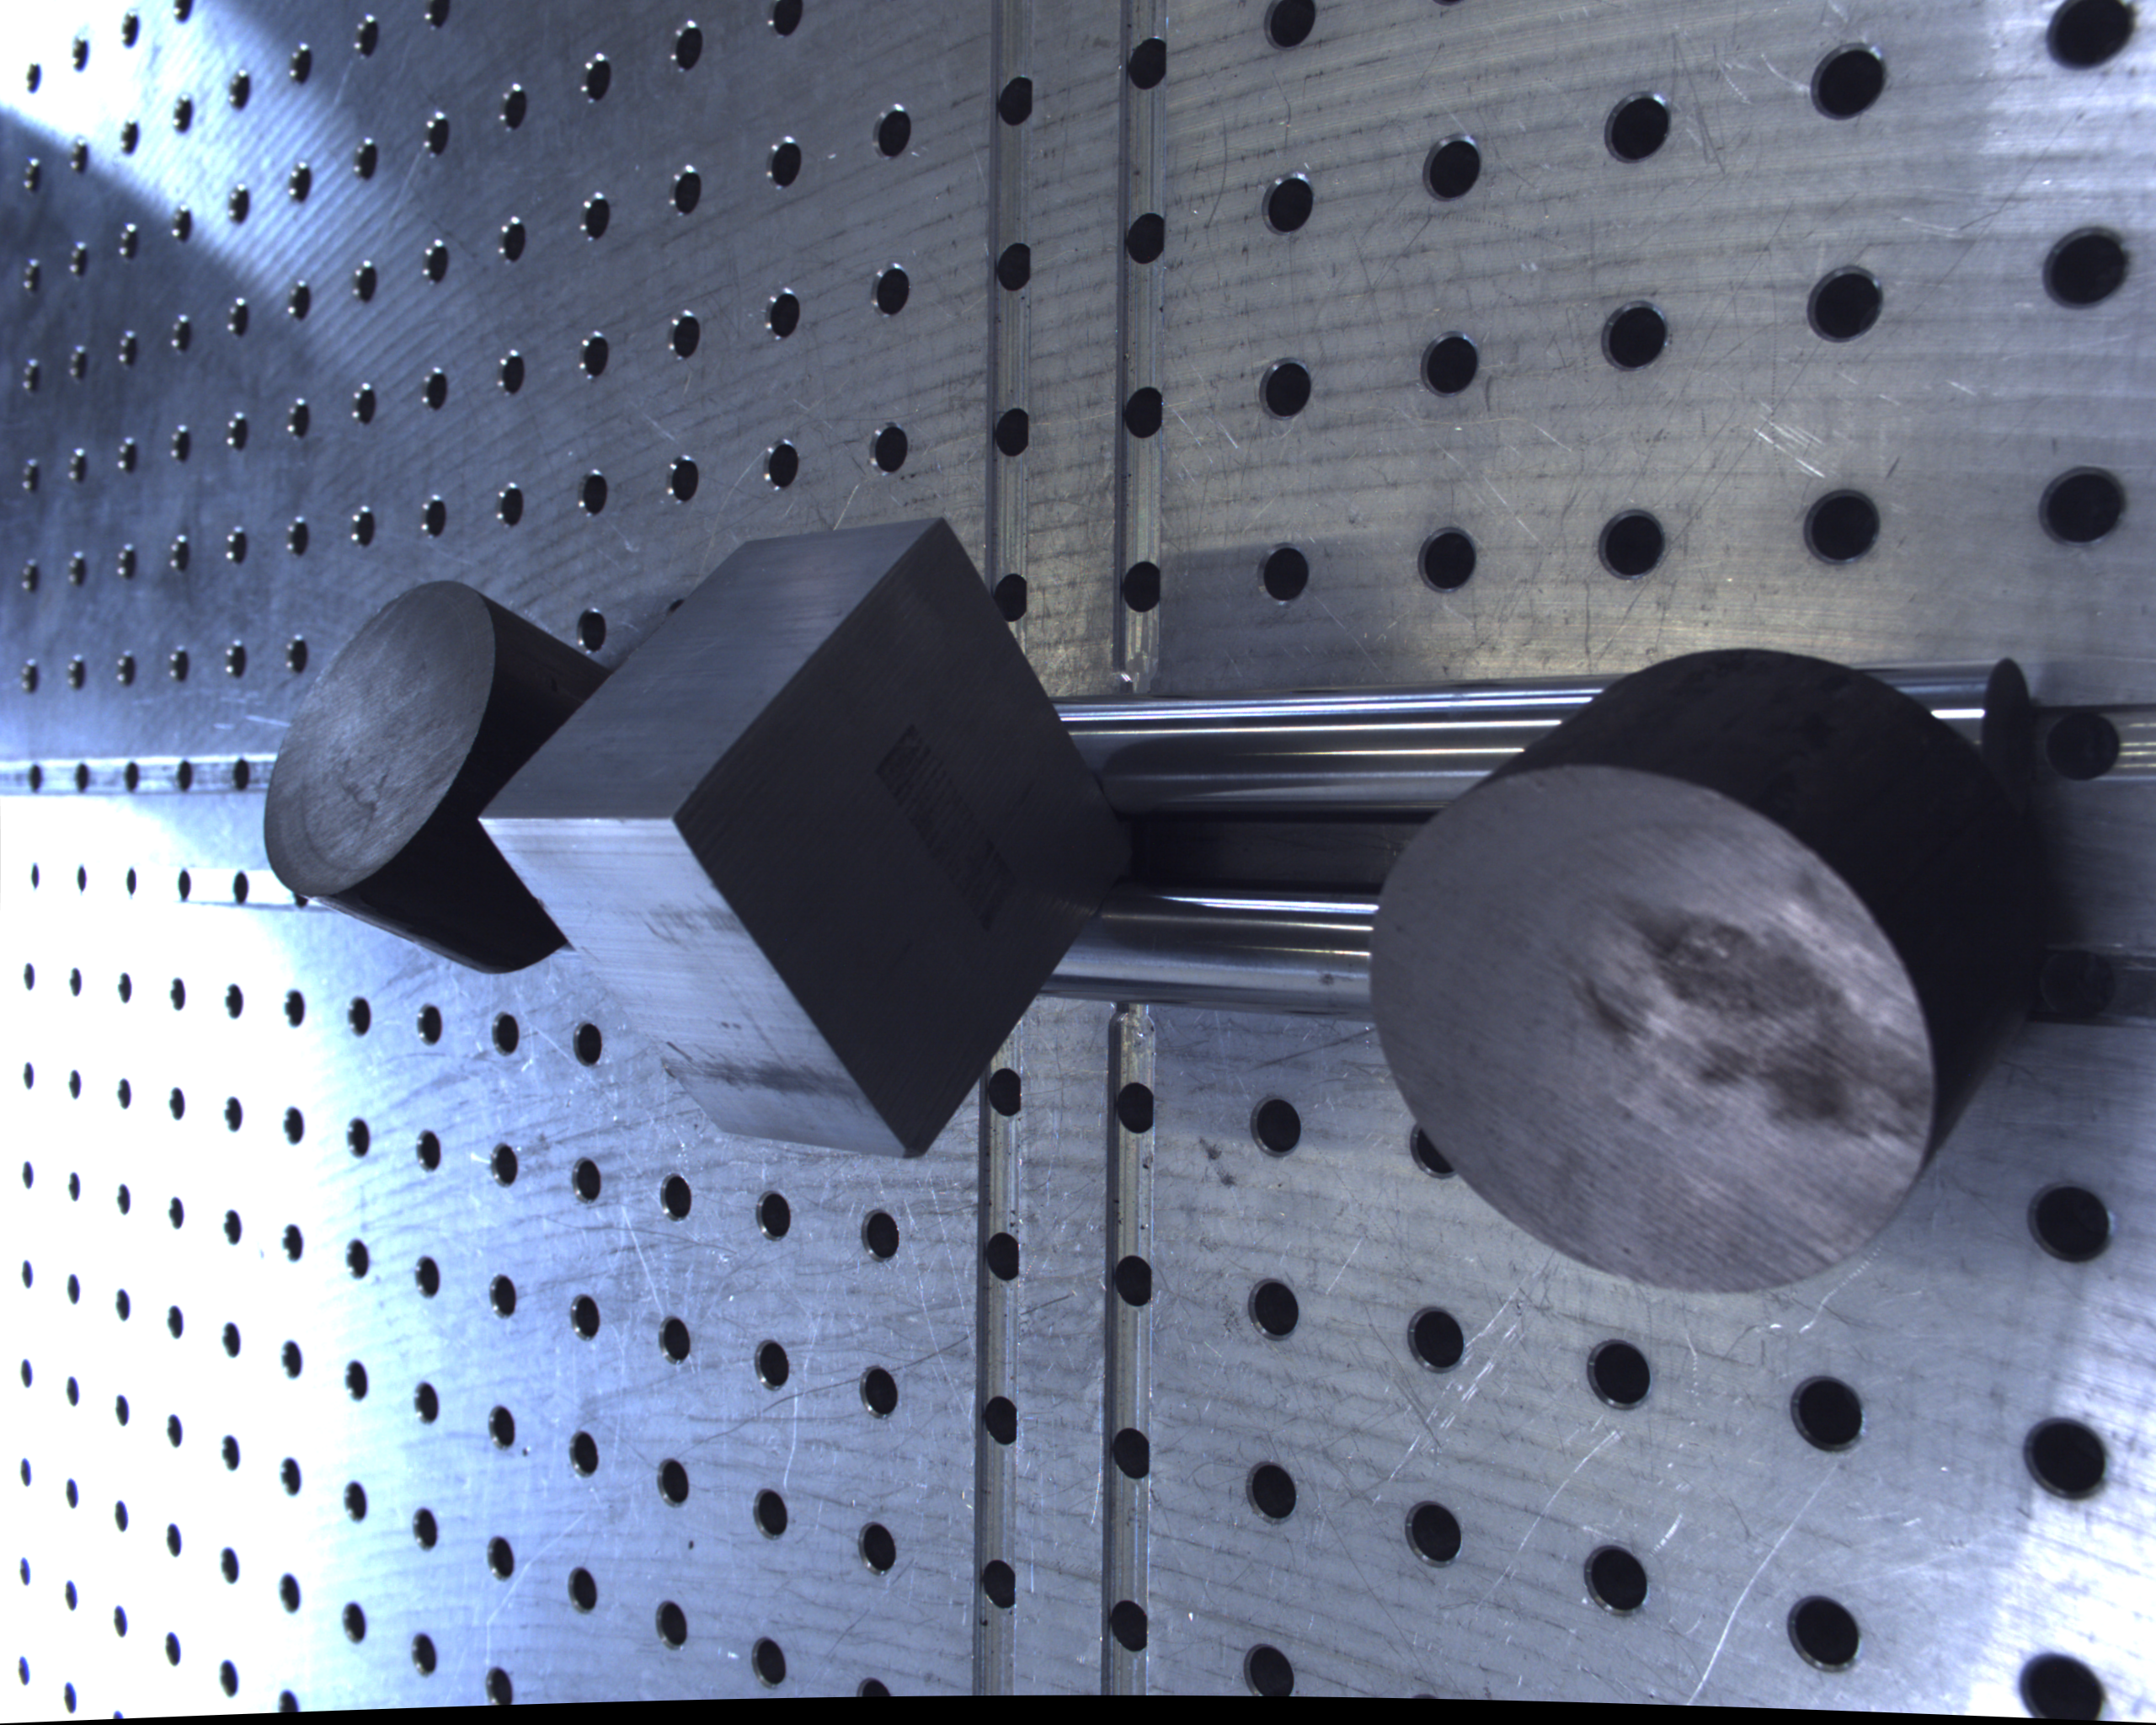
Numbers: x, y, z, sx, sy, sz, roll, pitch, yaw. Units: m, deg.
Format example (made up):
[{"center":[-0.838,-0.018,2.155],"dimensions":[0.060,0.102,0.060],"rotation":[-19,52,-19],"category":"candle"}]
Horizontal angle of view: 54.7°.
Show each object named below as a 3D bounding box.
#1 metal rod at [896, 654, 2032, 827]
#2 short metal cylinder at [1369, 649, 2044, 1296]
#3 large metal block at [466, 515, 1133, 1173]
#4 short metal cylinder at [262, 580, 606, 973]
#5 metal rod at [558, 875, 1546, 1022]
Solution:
[{"center":[0.017,-0.020,0.394],"dimensions":[0.300,0.025,0.025],"rotation":[1,91,40],"category":"metal rod"},{"center":[0.090,0.015,0.301],"dimensions":[0.080,0.050,0.079],"rotation":[19,124,32],"category":"short metal cylinder"},{"center":[-0.045,-0.004,0.372],"dimensions":[0.050,0.080,0.080],"rotation":[1,133,40],"category":"large metal block"},{"center":[-0.146,-0.020,0.495],"dimensions":[0.080,0.050,0.080],"rotation":[-19,56,31],"category":"short metal cylinder"},{"center":[-0.040,0.014,0.441],"dimensions":[0.300,0.025,0.025],"rotation":[1,91,40],"category":"metal rod"}]
